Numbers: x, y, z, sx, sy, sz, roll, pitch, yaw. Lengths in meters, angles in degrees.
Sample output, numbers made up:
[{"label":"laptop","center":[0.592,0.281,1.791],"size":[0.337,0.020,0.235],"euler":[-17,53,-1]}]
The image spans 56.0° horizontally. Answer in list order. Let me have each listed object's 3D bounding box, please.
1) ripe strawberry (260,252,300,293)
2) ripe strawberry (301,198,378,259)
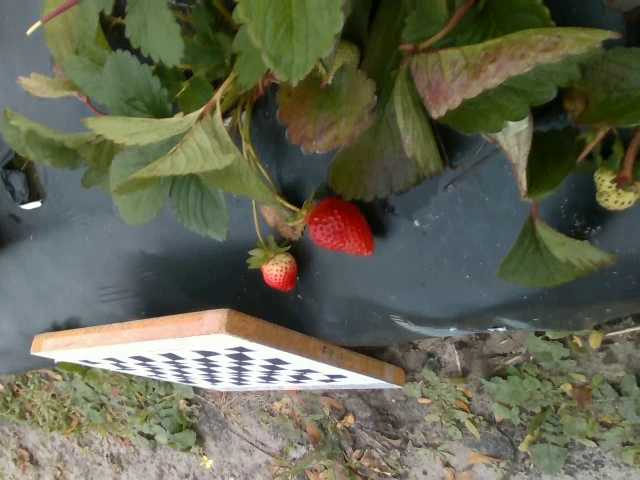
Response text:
[{"label":"ripe strawberry","center":[-0.032,0.026,0.450],"size":[0.036,0.027,0.040],"euler":[1,-38,41]},{"label":"ripe strawberry","center":[0.013,-0.005,0.391],"size":[0.059,0.041,0.044],"euler":[29,-10,2]}]
